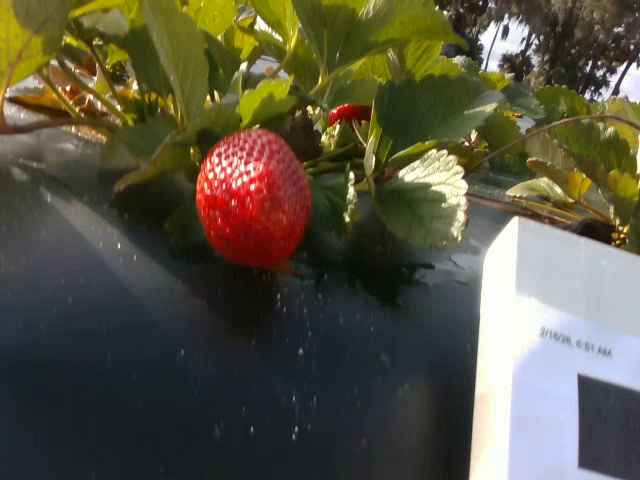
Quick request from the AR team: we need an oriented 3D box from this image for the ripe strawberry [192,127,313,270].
[{"bbox_3d":[-0.016,-0.013,0.151,0.041,0.041,0.047,-14,10,-10],"label":"ripe strawberry"}]
